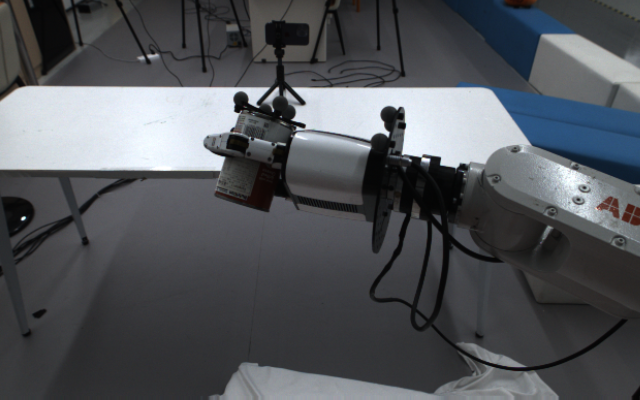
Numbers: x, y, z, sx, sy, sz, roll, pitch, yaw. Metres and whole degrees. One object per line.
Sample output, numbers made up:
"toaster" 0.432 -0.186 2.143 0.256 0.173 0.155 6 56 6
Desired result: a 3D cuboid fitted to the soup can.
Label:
"soup can" -0.074 -0.043 0.557 0.067 0.101 0.067 17 -1 0
